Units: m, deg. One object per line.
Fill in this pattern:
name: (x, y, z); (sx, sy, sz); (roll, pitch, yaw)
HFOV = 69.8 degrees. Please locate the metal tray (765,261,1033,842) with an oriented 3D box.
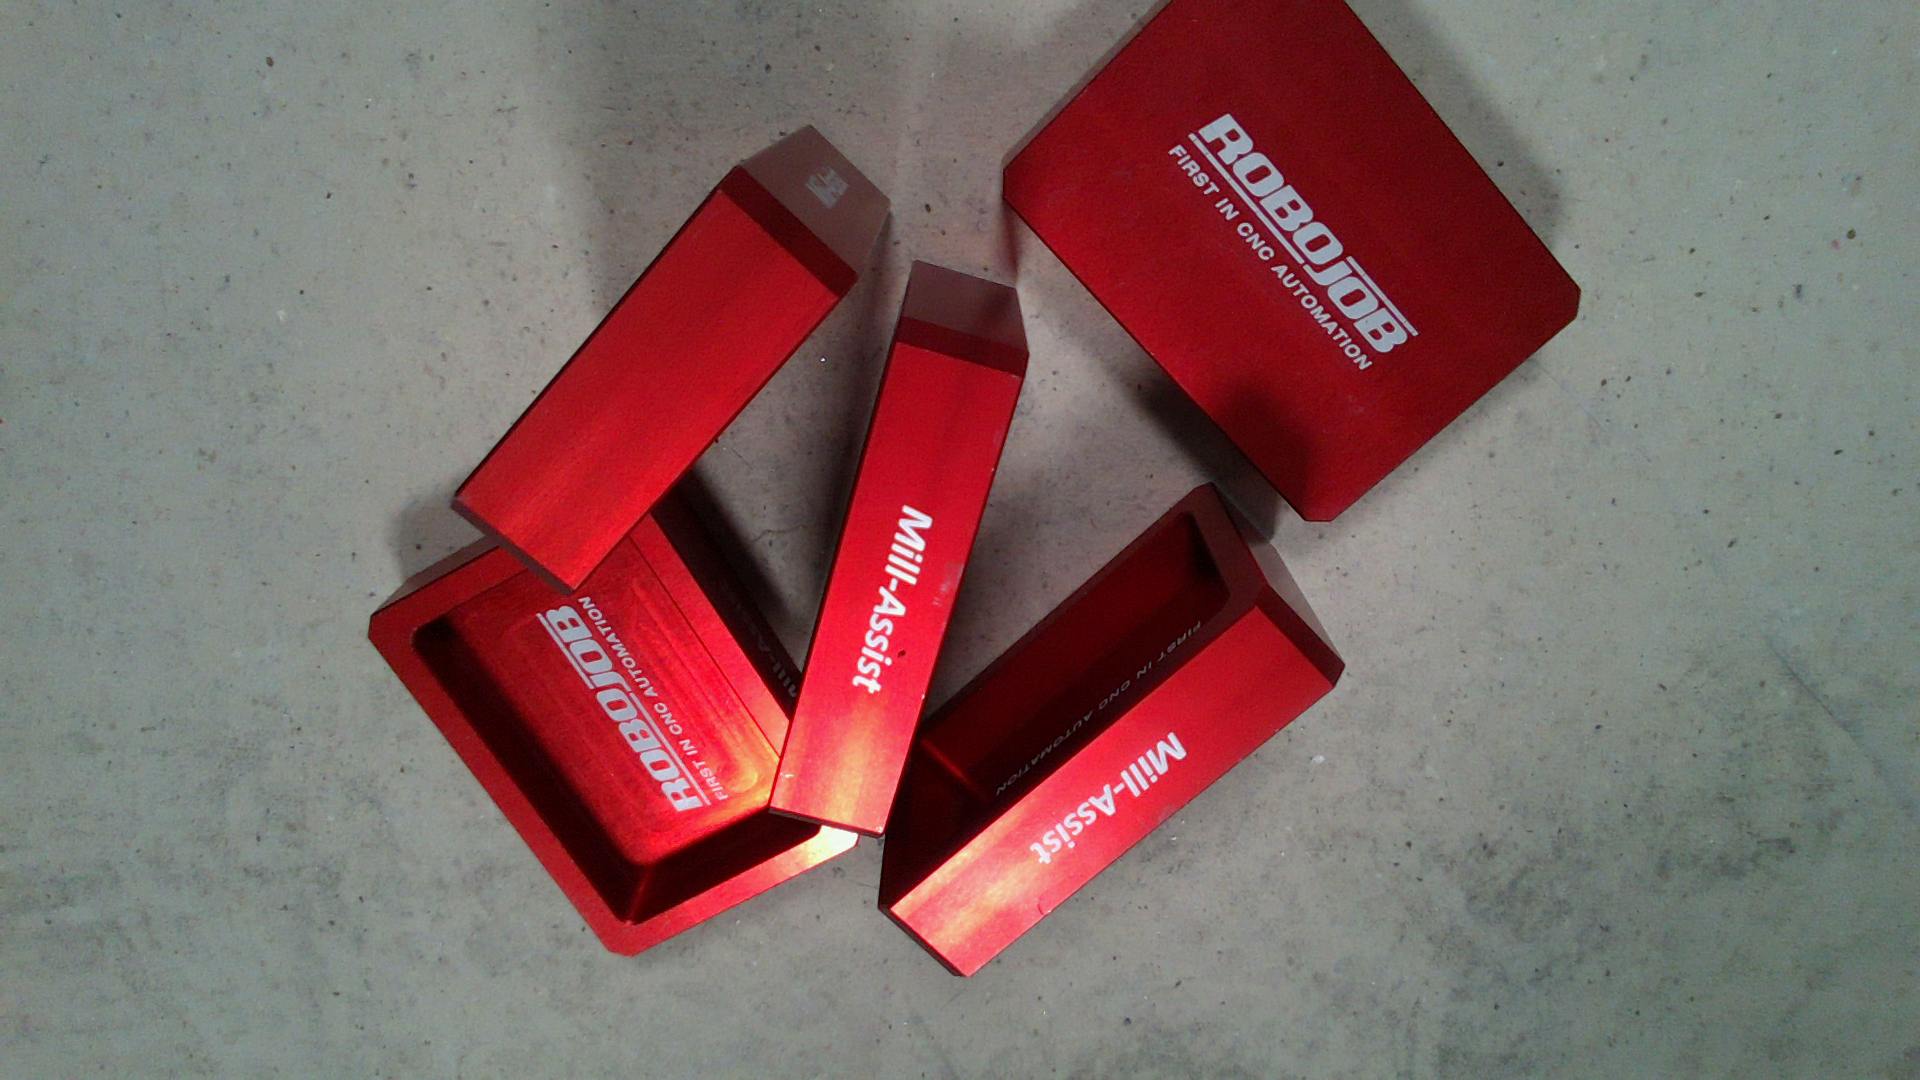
metal tray: (-0.016, -0.001, 0.359); (0.030, 0.090, 0.130); (15, 109, -5)

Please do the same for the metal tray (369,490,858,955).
metal tray: (-0.097, 0.051, 0.410); (0.090, 0.030, 0.130); (-27, 108, 9)

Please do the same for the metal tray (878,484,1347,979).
metal tray: (0.036, 0.049, 0.377); (0.130, 0.090, 0.030); (-42, 105, 14)

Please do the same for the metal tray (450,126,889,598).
metal tray: (-0.060, -0.049, 0.320); (0.030, 0.130, 0.090); (41, 105, -14)

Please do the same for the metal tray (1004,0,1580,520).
metal tray: (0.085, -0.080, 0.362); (0.090, 0.030, 0.130); (-43, 105, 14)
